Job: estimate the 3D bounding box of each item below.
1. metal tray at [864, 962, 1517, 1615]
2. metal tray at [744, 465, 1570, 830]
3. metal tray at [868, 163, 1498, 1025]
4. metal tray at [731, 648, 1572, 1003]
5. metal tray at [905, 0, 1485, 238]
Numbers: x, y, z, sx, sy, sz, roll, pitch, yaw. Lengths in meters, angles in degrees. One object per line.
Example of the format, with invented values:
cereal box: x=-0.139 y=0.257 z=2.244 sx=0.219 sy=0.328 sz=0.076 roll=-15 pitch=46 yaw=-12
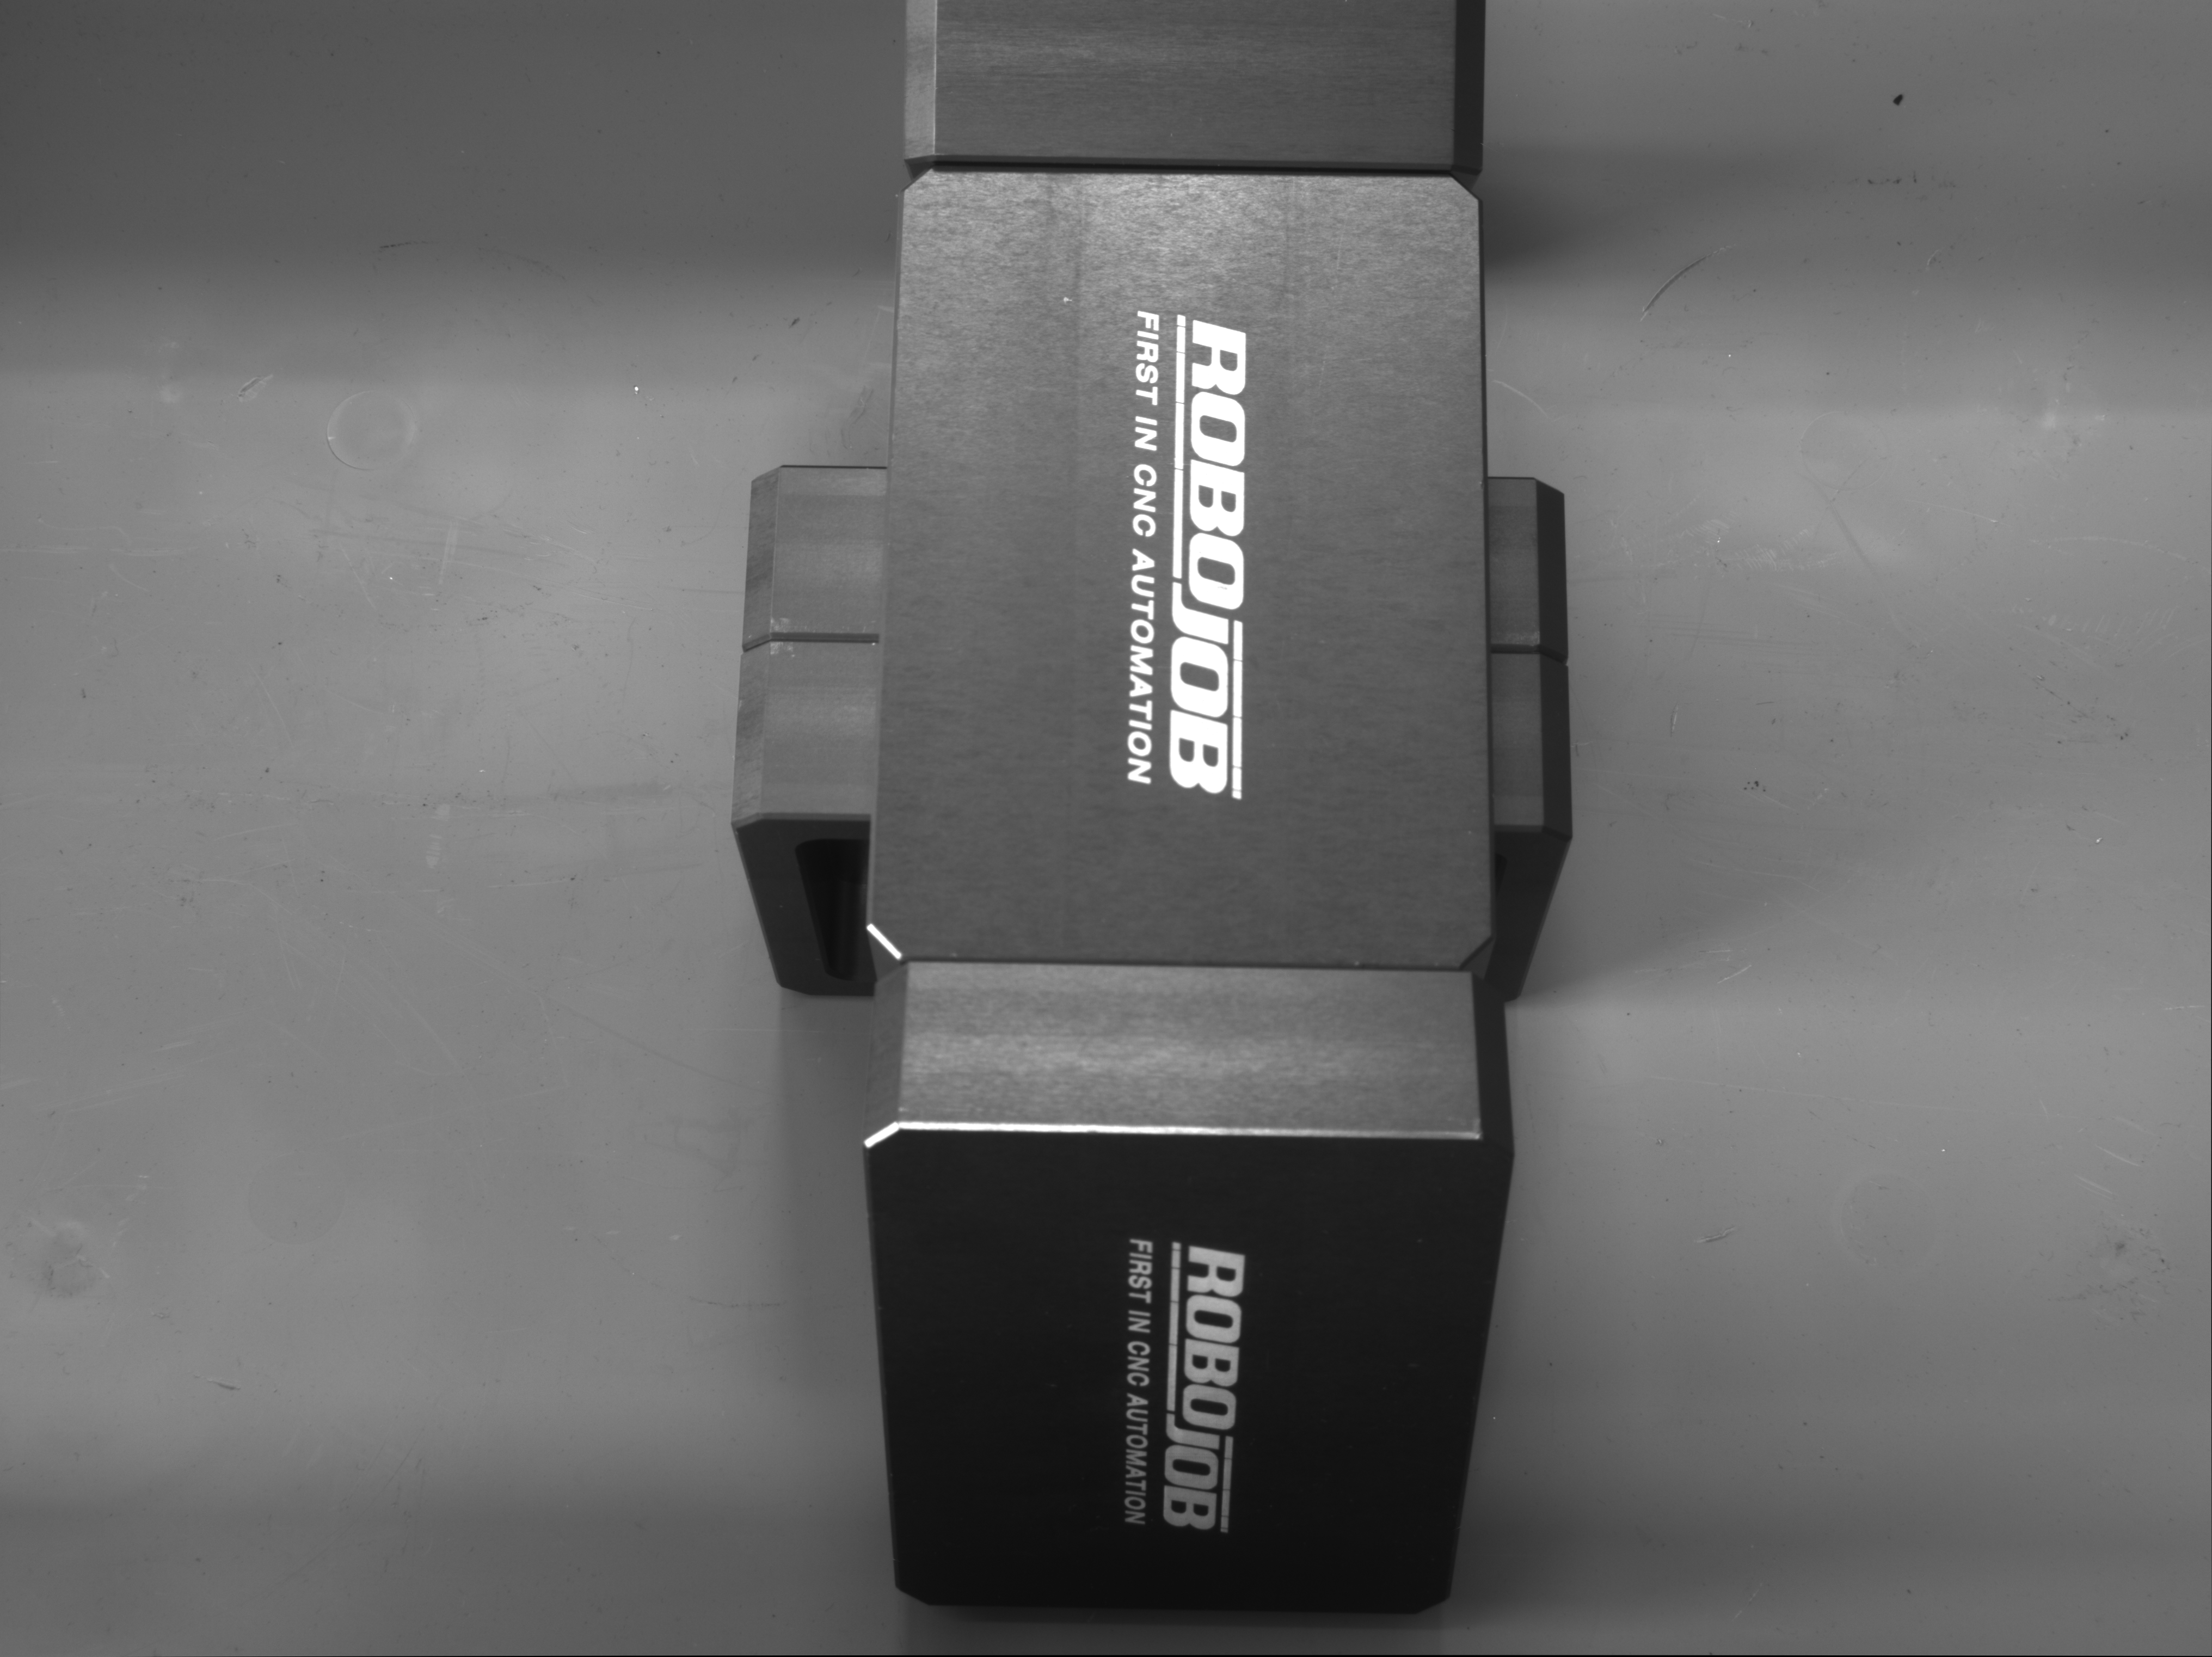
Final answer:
metal tray: x=0.011 y=0.073 z=0.559 sx=0.090 sy=0.130 sz=0.030 roll=1 pitch=48 yaw=0
metal tray: x=0.008 y=-0.028 z=0.620 sx=0.130 sy=0.090 sz=0.030 roll=1 pitch=70 yaw=0
metal tray: x=0.012 y=-0.036 z=0.558 sx=0.090 sy=0.030 sz=0.130 roll=1 pitch=70 yaw=0
metal tray: x=0.008 y=0.002 z=0.609 sx=0.130 sy=0.090 sz=0.030 roll=1 pitch=70 yaw=0
metal tray: x=0.014 y=-0.118 z=0.630 sx=0.090 sy=0.130 sz=0.030 roll=1 pitch=90 yaw=0
